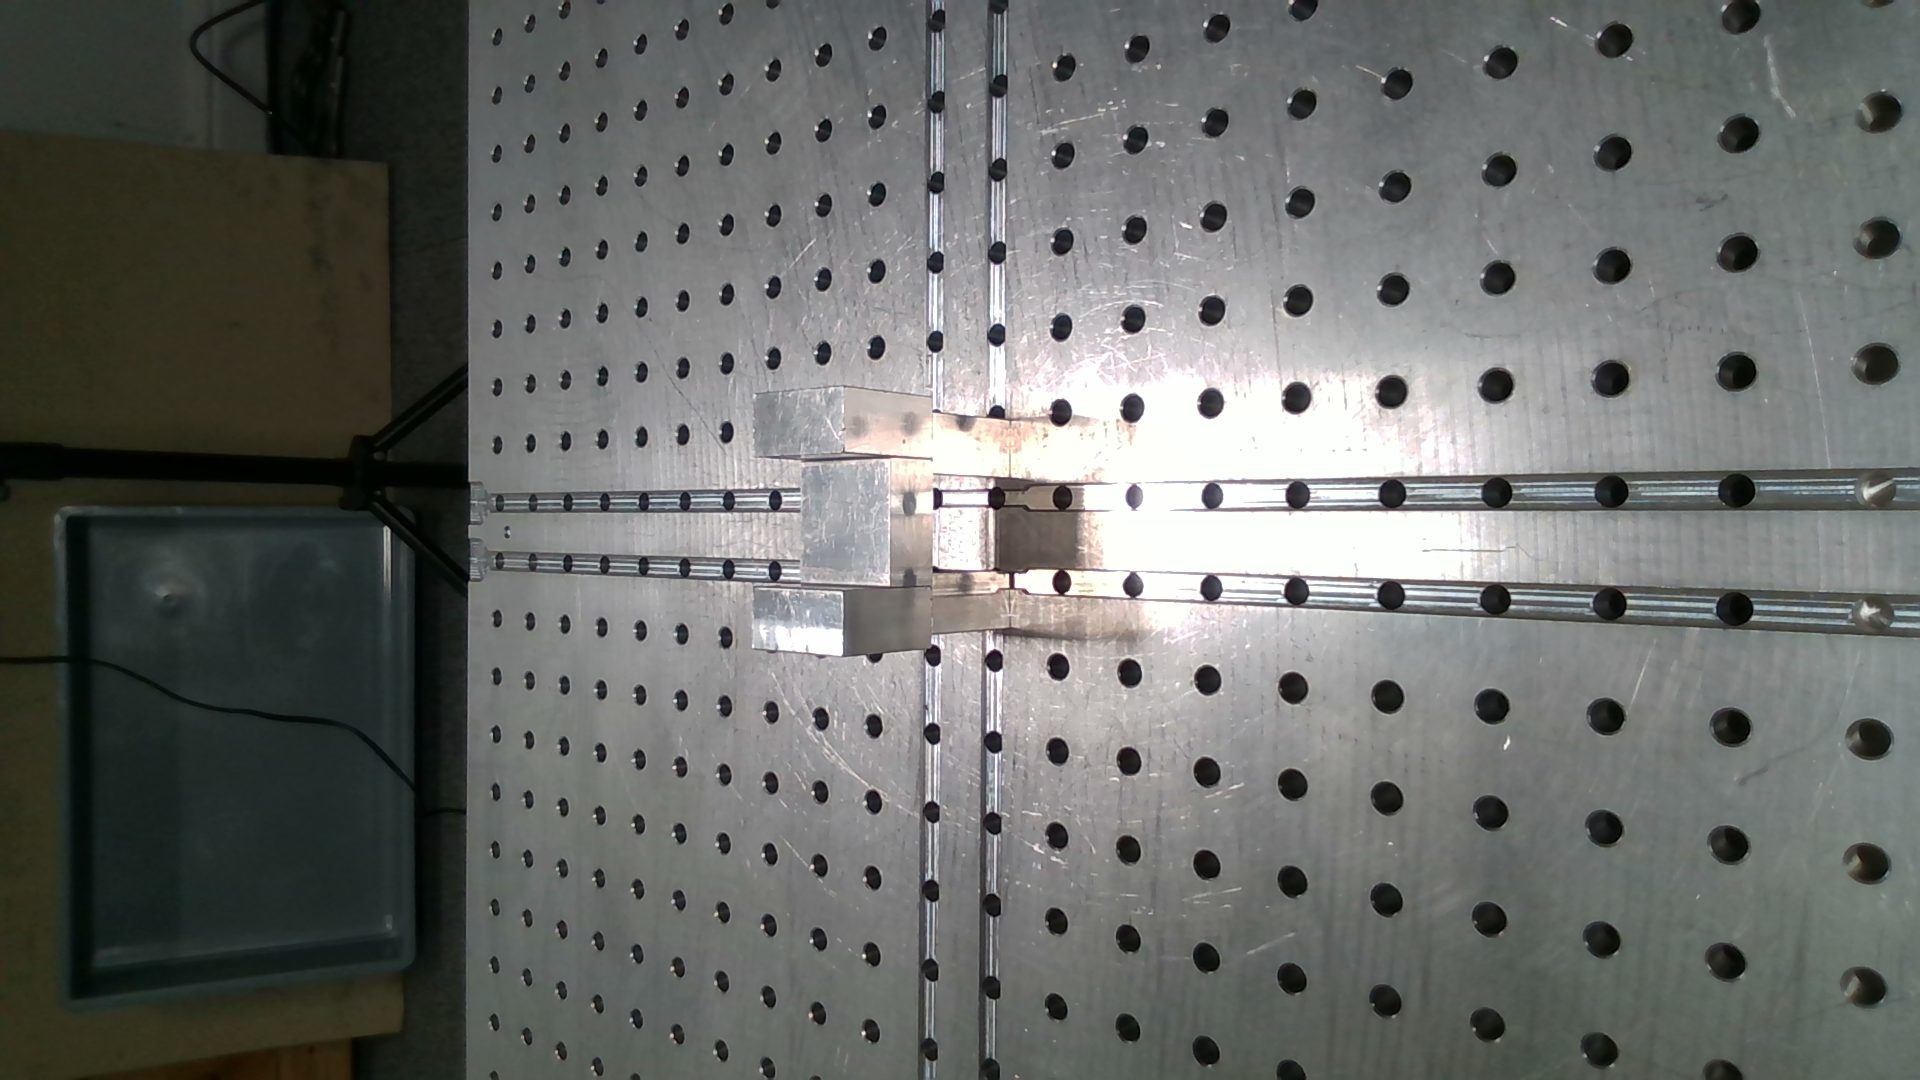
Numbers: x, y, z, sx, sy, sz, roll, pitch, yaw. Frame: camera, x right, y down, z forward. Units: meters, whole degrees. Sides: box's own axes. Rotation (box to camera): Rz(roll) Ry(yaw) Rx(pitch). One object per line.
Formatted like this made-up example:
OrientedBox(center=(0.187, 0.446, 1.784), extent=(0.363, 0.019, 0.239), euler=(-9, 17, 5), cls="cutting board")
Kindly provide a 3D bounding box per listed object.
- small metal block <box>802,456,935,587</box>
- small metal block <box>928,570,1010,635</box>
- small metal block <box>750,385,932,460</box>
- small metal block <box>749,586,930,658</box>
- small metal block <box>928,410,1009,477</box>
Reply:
OrientedBox(center=(-0.037, -0.007, 0.552), extent=(0.050, 0.025, 0.050), euler=(1, 91, 40), cls="small metal block")
OrientedBox(center=(-0.014, 0.025, 0.581), extent=(0.050, 0.050, 0.025), euler=(-1, 90, 40), cls="small metal block")
OrientedBox(center=(-0.047, -0.045, 0.541), extent=(0.050, 0.050, 0.025), euler=(1, 90, 40), cls="small metal block")
OrientedBox(center=(-0.047, 0.031, 0.542), extent=(0.050, 0.050, 0.025), euler=(1, 90, 40), cls="small metal block")
OrientedBox(center=(-0.014, -0.039, 0.580), extent=(0.050, 0.050, 0.025), euler=(1, 91, 40), cls="small metal block")
